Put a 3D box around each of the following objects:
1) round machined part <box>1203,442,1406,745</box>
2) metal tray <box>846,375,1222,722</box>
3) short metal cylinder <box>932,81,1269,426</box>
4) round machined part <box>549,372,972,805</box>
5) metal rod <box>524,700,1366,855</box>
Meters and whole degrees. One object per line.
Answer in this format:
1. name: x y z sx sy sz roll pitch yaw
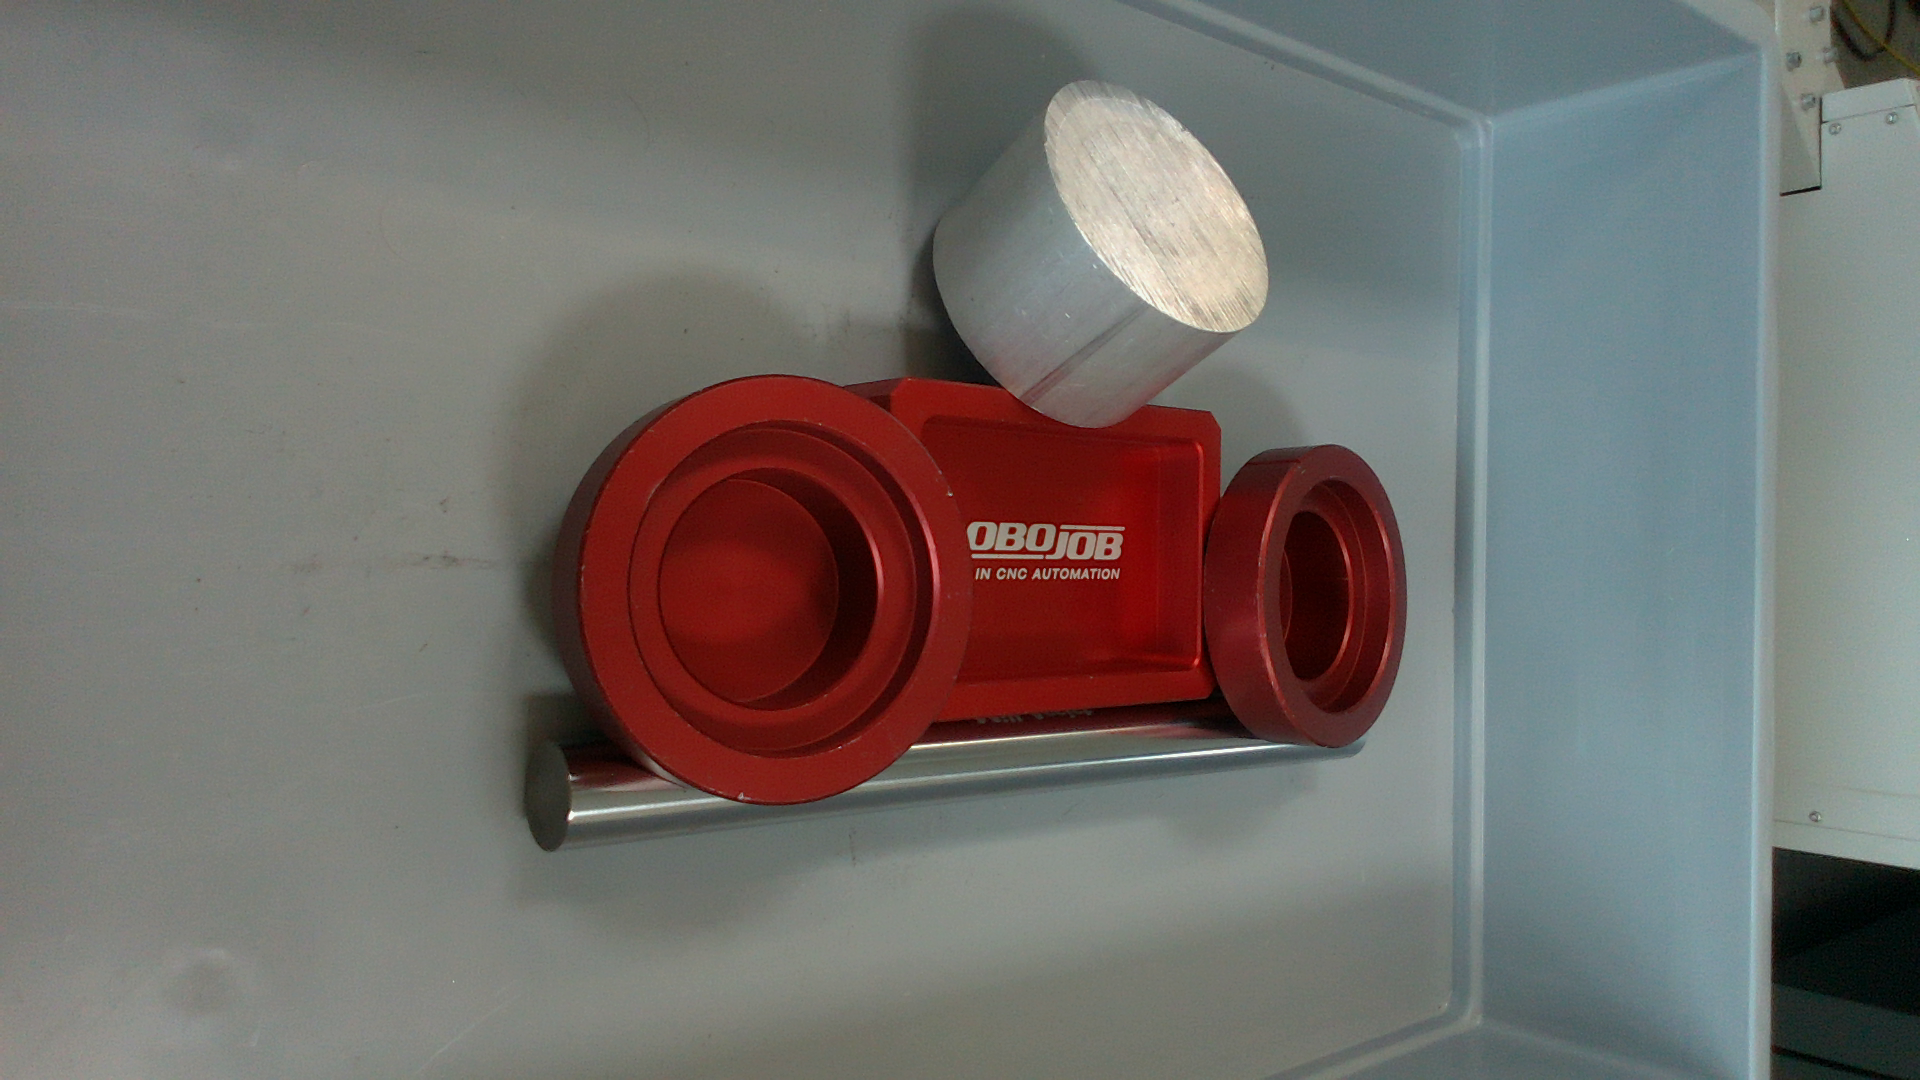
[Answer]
1. round machined part: 0.108 0.018 0.459 0.098 0.042 0.098 3 86 -47
2. metal tray: 0.023 0.003 0.402 0.131 0.030 0.090 1 90 -40
3. short metal cylinder: 0.039 -0.079 0.385 0.080 0.050 0.080 21 52 -29
4. round machined part: -0.049 0.012 0.329 0.098 0.042 0.098 2 87 -32
5. metal rod: 0.023 0.063 0.406 0.301 0.025 0.025 2 89 -40
